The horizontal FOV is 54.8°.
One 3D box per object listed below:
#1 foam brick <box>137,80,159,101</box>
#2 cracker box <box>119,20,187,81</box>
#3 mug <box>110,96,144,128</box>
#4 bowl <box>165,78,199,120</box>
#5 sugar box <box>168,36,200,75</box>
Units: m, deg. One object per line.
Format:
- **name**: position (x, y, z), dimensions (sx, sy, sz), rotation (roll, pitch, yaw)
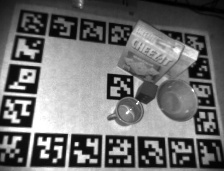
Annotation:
- **foam brick**: position (0.130, 0.016, 0.777), dimensions (0.053, 0.078, 0.051), rotation (18, 67, -4)
- **cracker box**: position (0.127, -0.104, 0.741), dimensions (0.164, 0.213, 0.072), rotation (31, 66, 0)
- **mug**: position (0.050, 0.095, 0.721), dimensions (0.118, 0.081, 0.093), rotation (-5, 64, -12)
- **bowl**: position (0.251, 0.052, 0.787), dimensions (0.162, 0.055, 0.161), rotation (4, 71, -11)
- **sugar box**: position (0.234, -0.103, 0.783), dimensions (0.093, 0.176, 0.045), rotation (23, 68, -2)
